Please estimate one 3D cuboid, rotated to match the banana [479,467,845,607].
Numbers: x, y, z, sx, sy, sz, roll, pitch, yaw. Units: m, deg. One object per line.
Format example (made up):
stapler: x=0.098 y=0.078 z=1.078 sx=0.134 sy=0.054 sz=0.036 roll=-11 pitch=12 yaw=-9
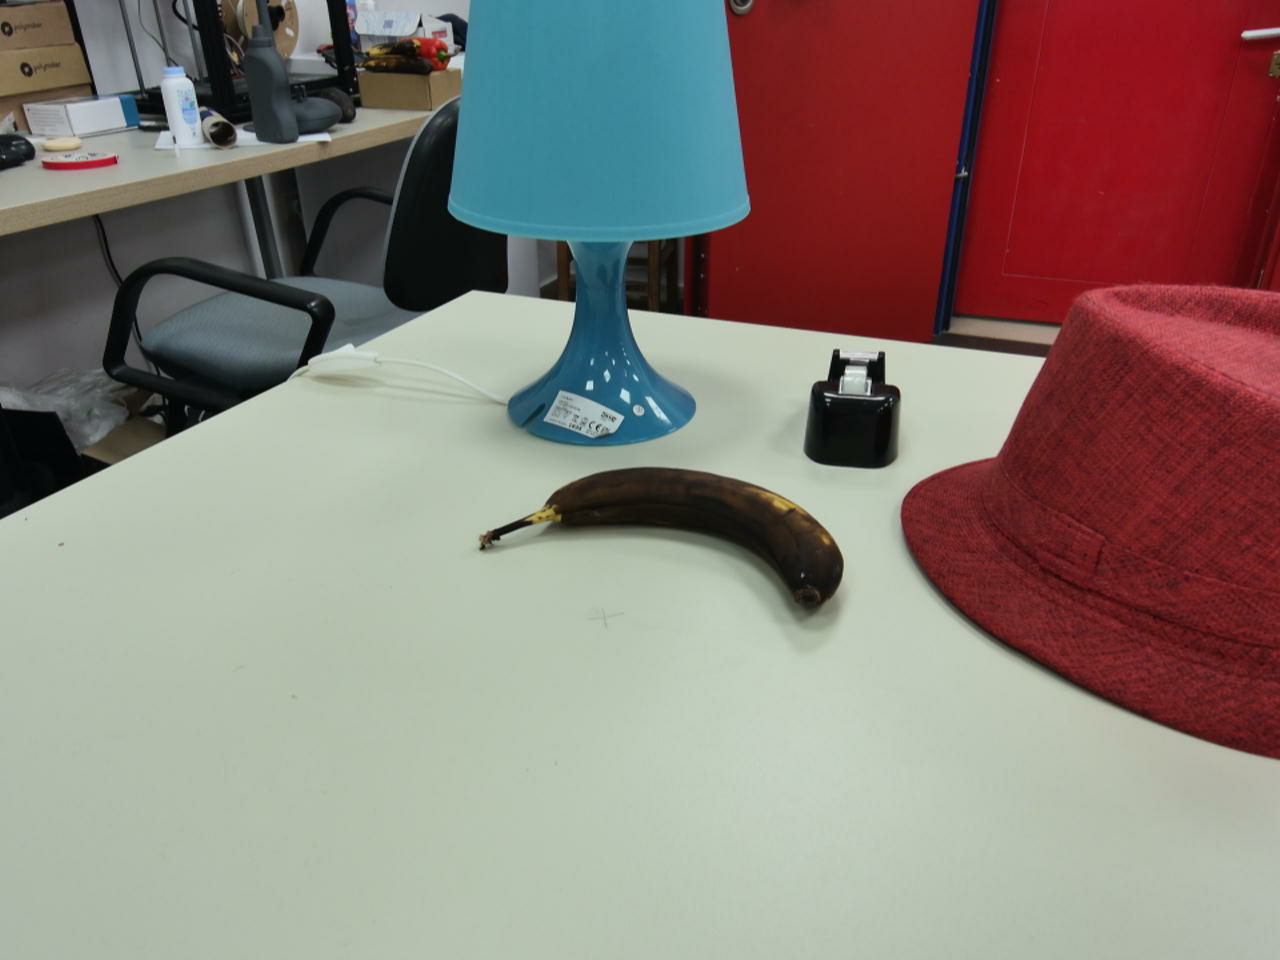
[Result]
banana: x=0.018 y=0.021 z=0.519 sx=0.188 sy=0.034 sz=0.091 roll=11 pitch=28 yaw=24
